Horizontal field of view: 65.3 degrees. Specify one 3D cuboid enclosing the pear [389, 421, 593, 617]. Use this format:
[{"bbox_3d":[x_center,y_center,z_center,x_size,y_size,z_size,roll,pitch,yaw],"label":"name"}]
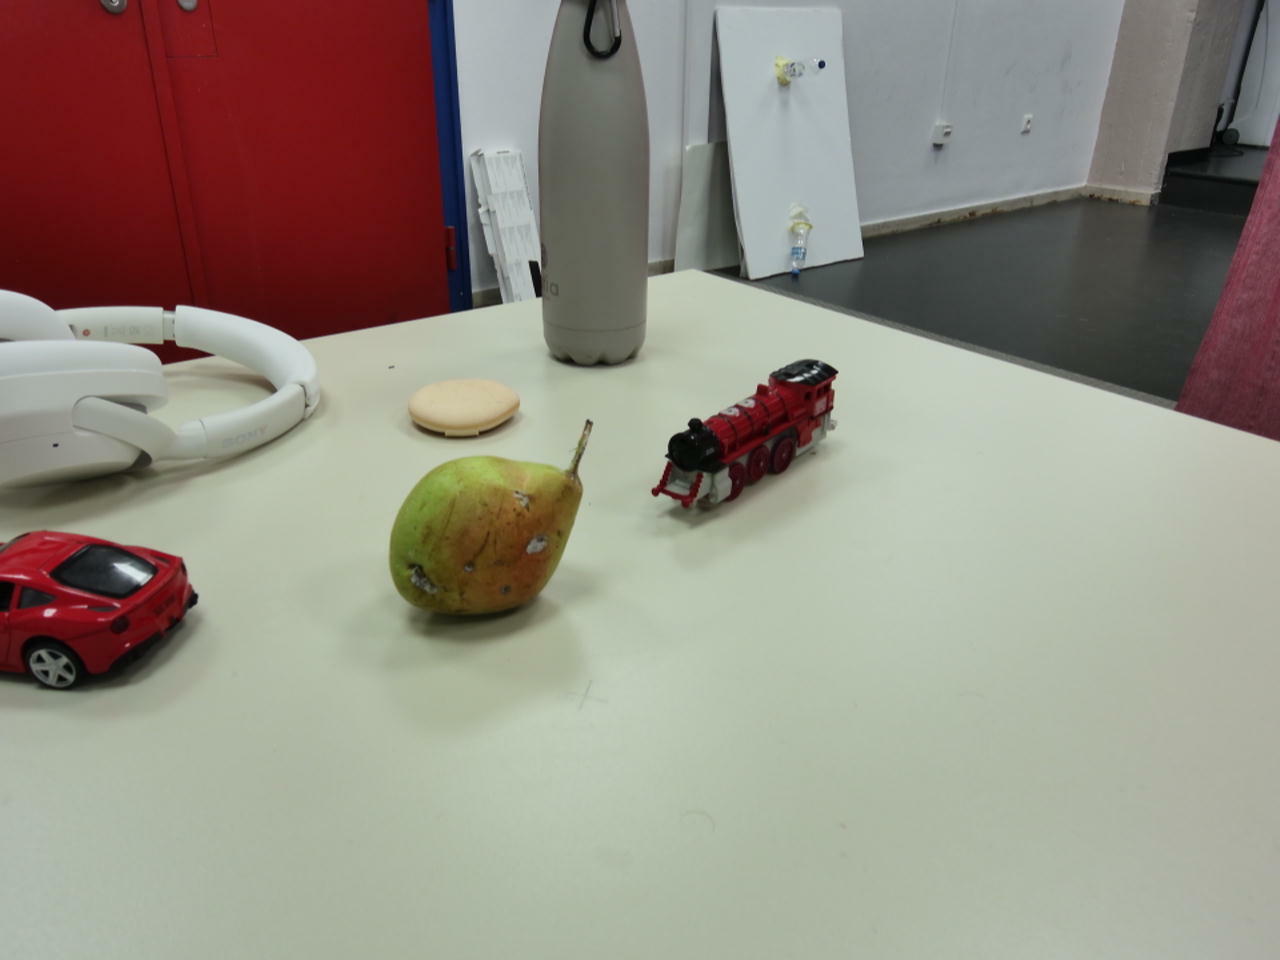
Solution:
[{"bbox_3d":[-0.060,0.018,0.391,0.070,0.069,0.068,5,24,11],"label":"pear"}]
